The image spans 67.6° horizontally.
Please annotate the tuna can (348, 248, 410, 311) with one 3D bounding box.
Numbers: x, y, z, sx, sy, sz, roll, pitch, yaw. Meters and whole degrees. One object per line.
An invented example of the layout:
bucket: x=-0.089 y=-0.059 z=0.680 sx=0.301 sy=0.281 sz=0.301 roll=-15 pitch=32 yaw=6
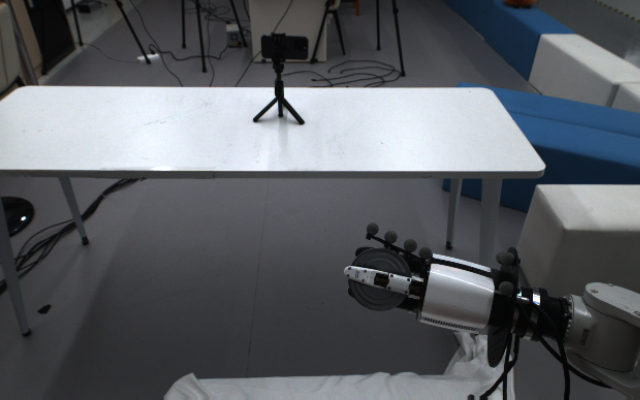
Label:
tuna can: x=0.086 y=0.107 z=0.669 sx=0.085 sy=0.085 sz=0.034 roll=14 pitch=-7 yaw=16
